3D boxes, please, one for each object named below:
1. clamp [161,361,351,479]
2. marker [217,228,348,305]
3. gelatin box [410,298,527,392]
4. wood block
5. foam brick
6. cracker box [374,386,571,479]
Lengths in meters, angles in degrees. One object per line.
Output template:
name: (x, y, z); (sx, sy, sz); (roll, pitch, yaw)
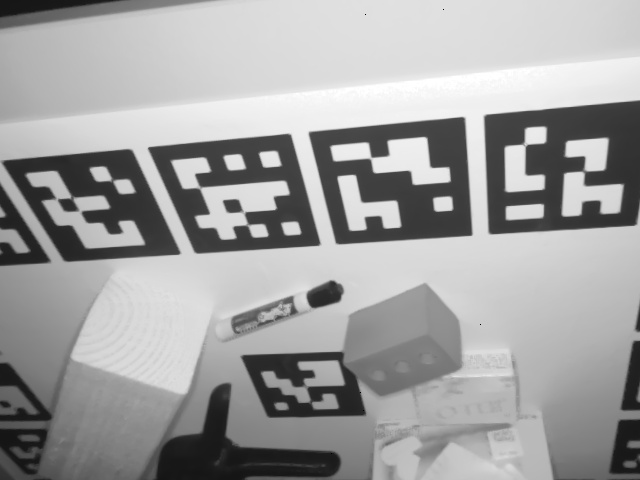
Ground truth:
clamp: (-0.093, 0.210, 0.691); (0.166, 0.037, 0.200); (40, 121, -22)
marker: (-0.030, 0.021, 0.548); (0.119, 0.020, 0.020); (-26, 119, 24)
gelatin box: (0.124, 0.090, 0.583); (0.089, 0.030, 0.073); (-10, 124, 13)
wood block: (-0.172, 0.114, 0.596); (0.090, 0.092, 0.203); (18, 130, -10)
foam brick: (0.062, 0.041, 0.534); (0.077, 0.052, 0.053); (-31, 117, 26)
cracker box: (0.126, 0.230, 0.564); (0.163, 0.216, 0.072); (-10, 127, 17)
